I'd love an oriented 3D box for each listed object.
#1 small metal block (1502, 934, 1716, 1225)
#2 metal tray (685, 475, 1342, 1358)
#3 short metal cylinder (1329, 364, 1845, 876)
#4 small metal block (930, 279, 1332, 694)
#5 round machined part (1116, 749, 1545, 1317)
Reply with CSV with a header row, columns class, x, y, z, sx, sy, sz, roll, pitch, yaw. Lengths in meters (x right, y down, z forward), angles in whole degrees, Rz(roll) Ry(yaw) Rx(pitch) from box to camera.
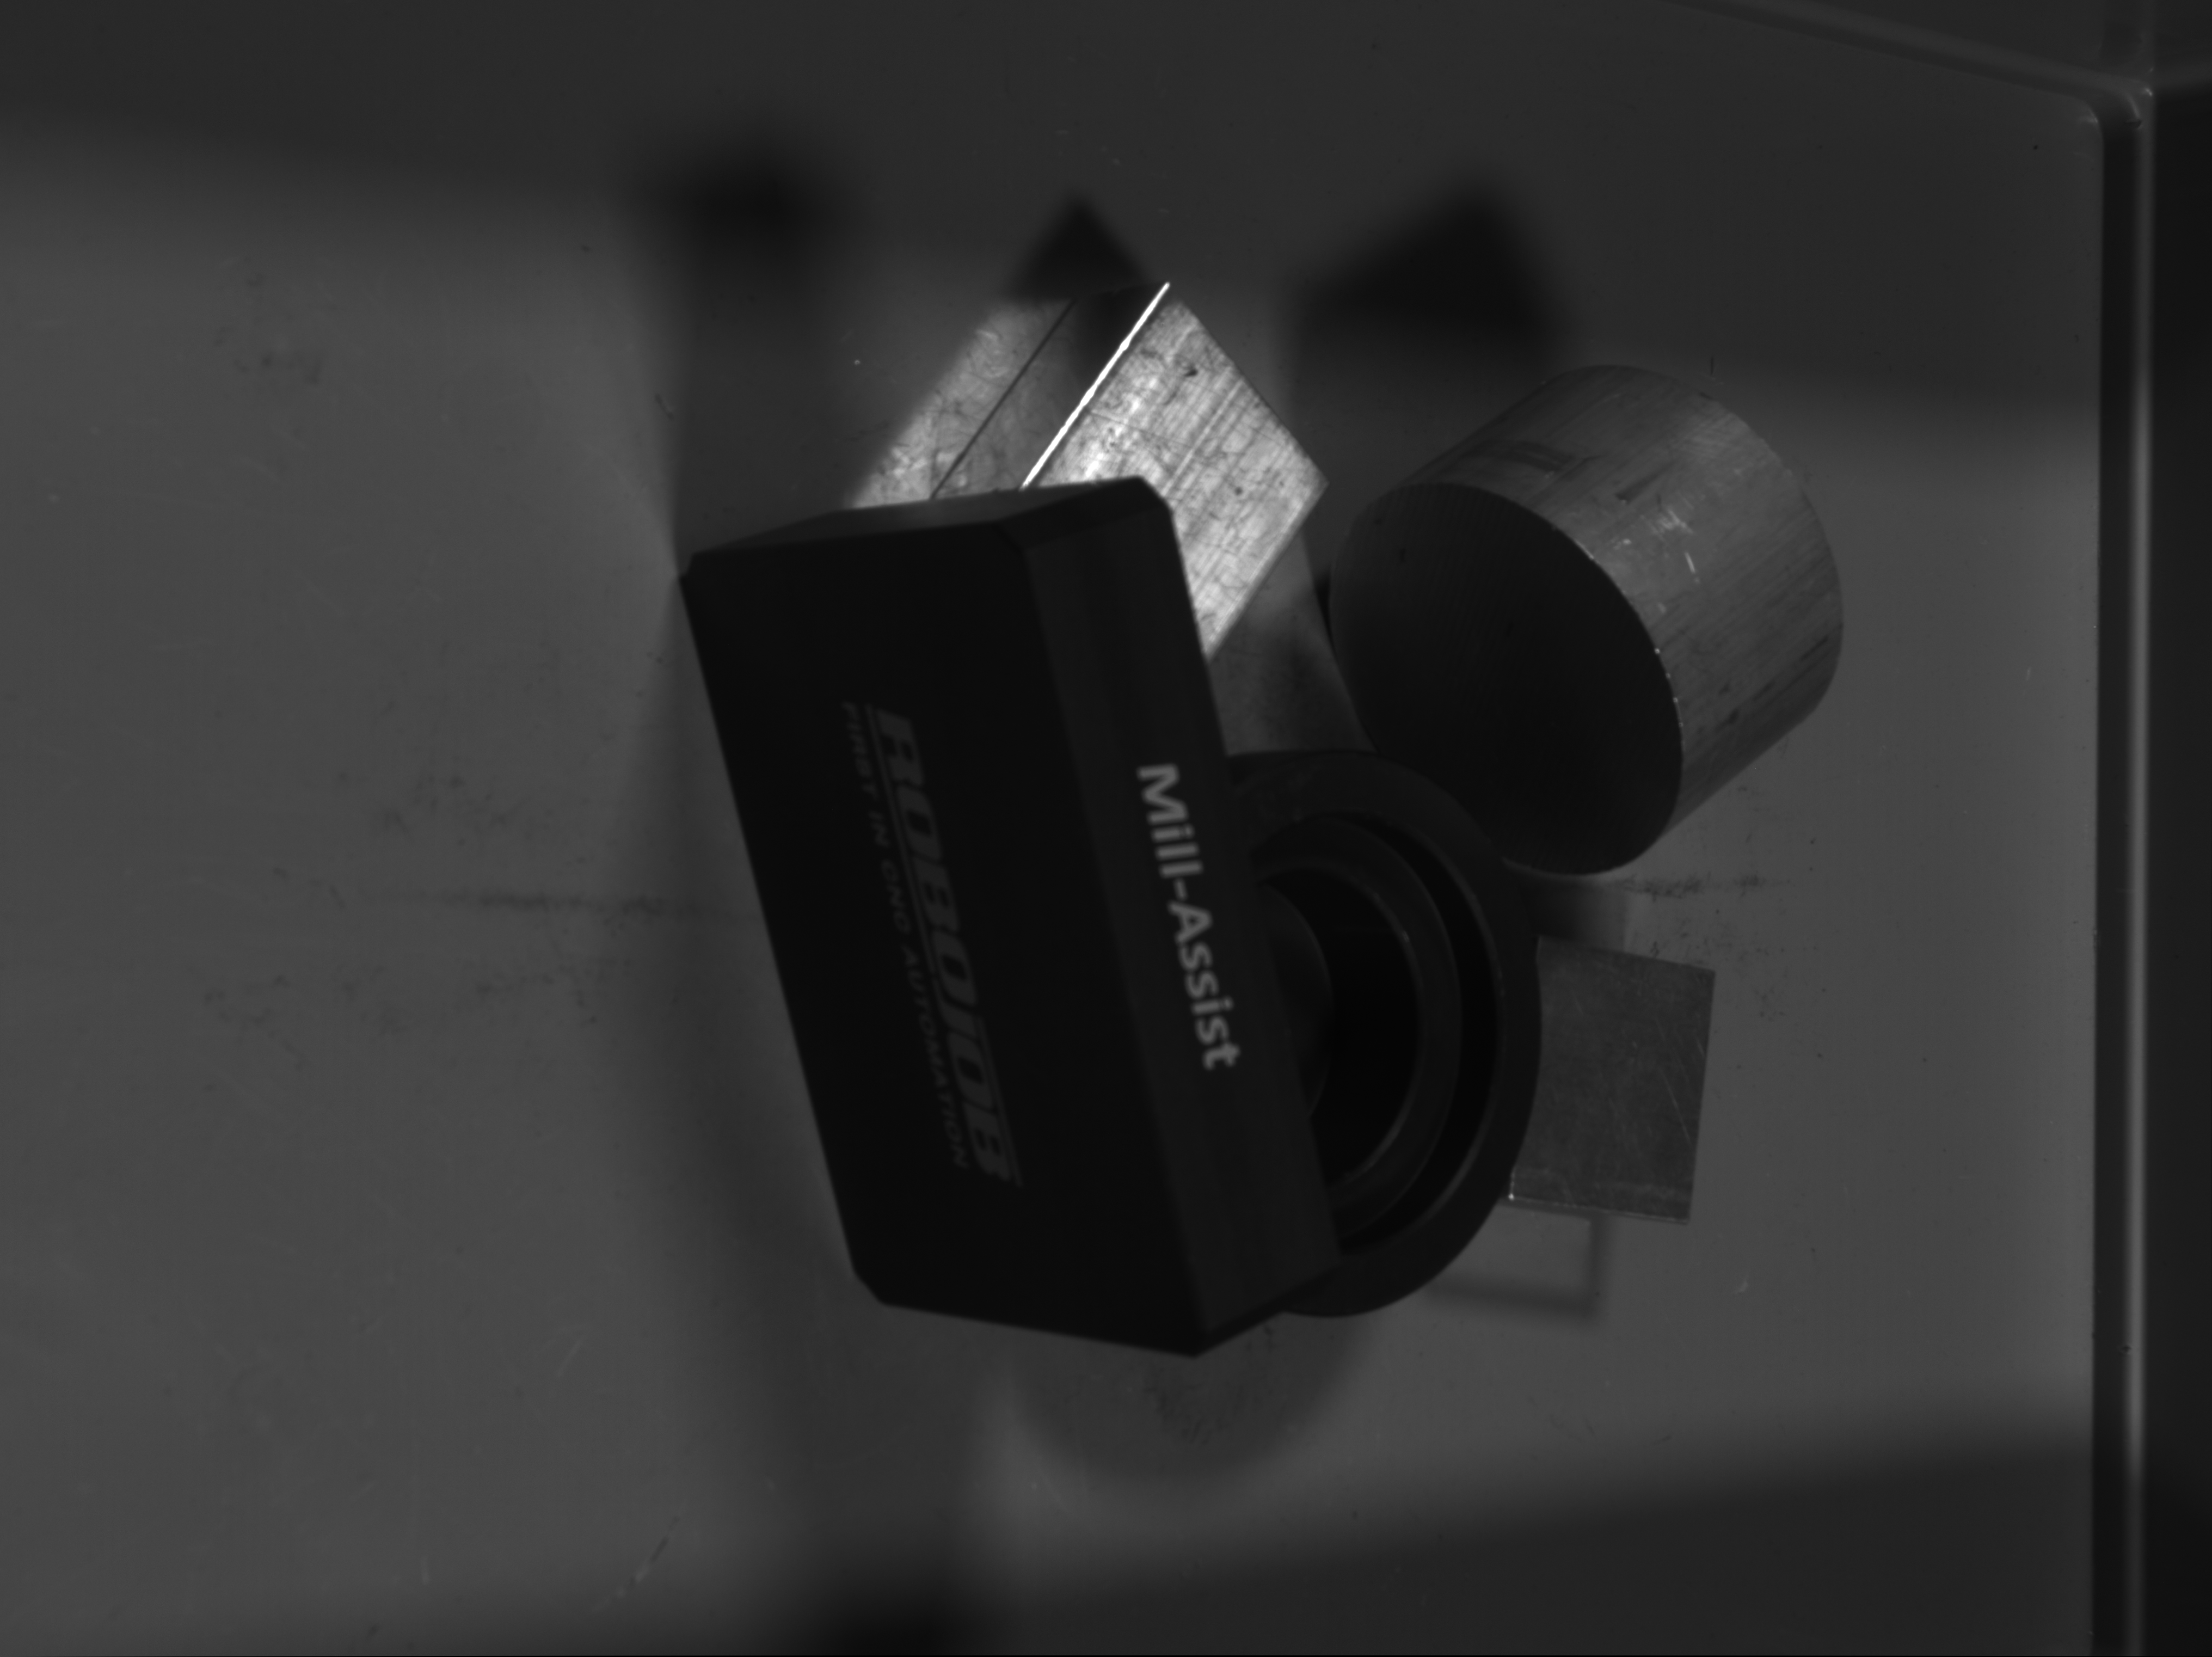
class,x,y,z,sx,sy,sz,roll,pitch,yaw
small metal block,0.090,0.049,0.710,0.050,0.025,0.050,12,82,-38
metal tray,-0.016,0.014,0.580,0.030,0.090,0.130,-21,103,-37
short metal cylinder,0.088,-0.038,0.673,0.050,0.080,0.080,-36,112,-34
small metal block,0.005,-0.059,0.640,0.050,0.025,0.050,47,63,-28
round machined part,0.029,0.035,0.647,0.098,0.042,0.098,0,90,-40
